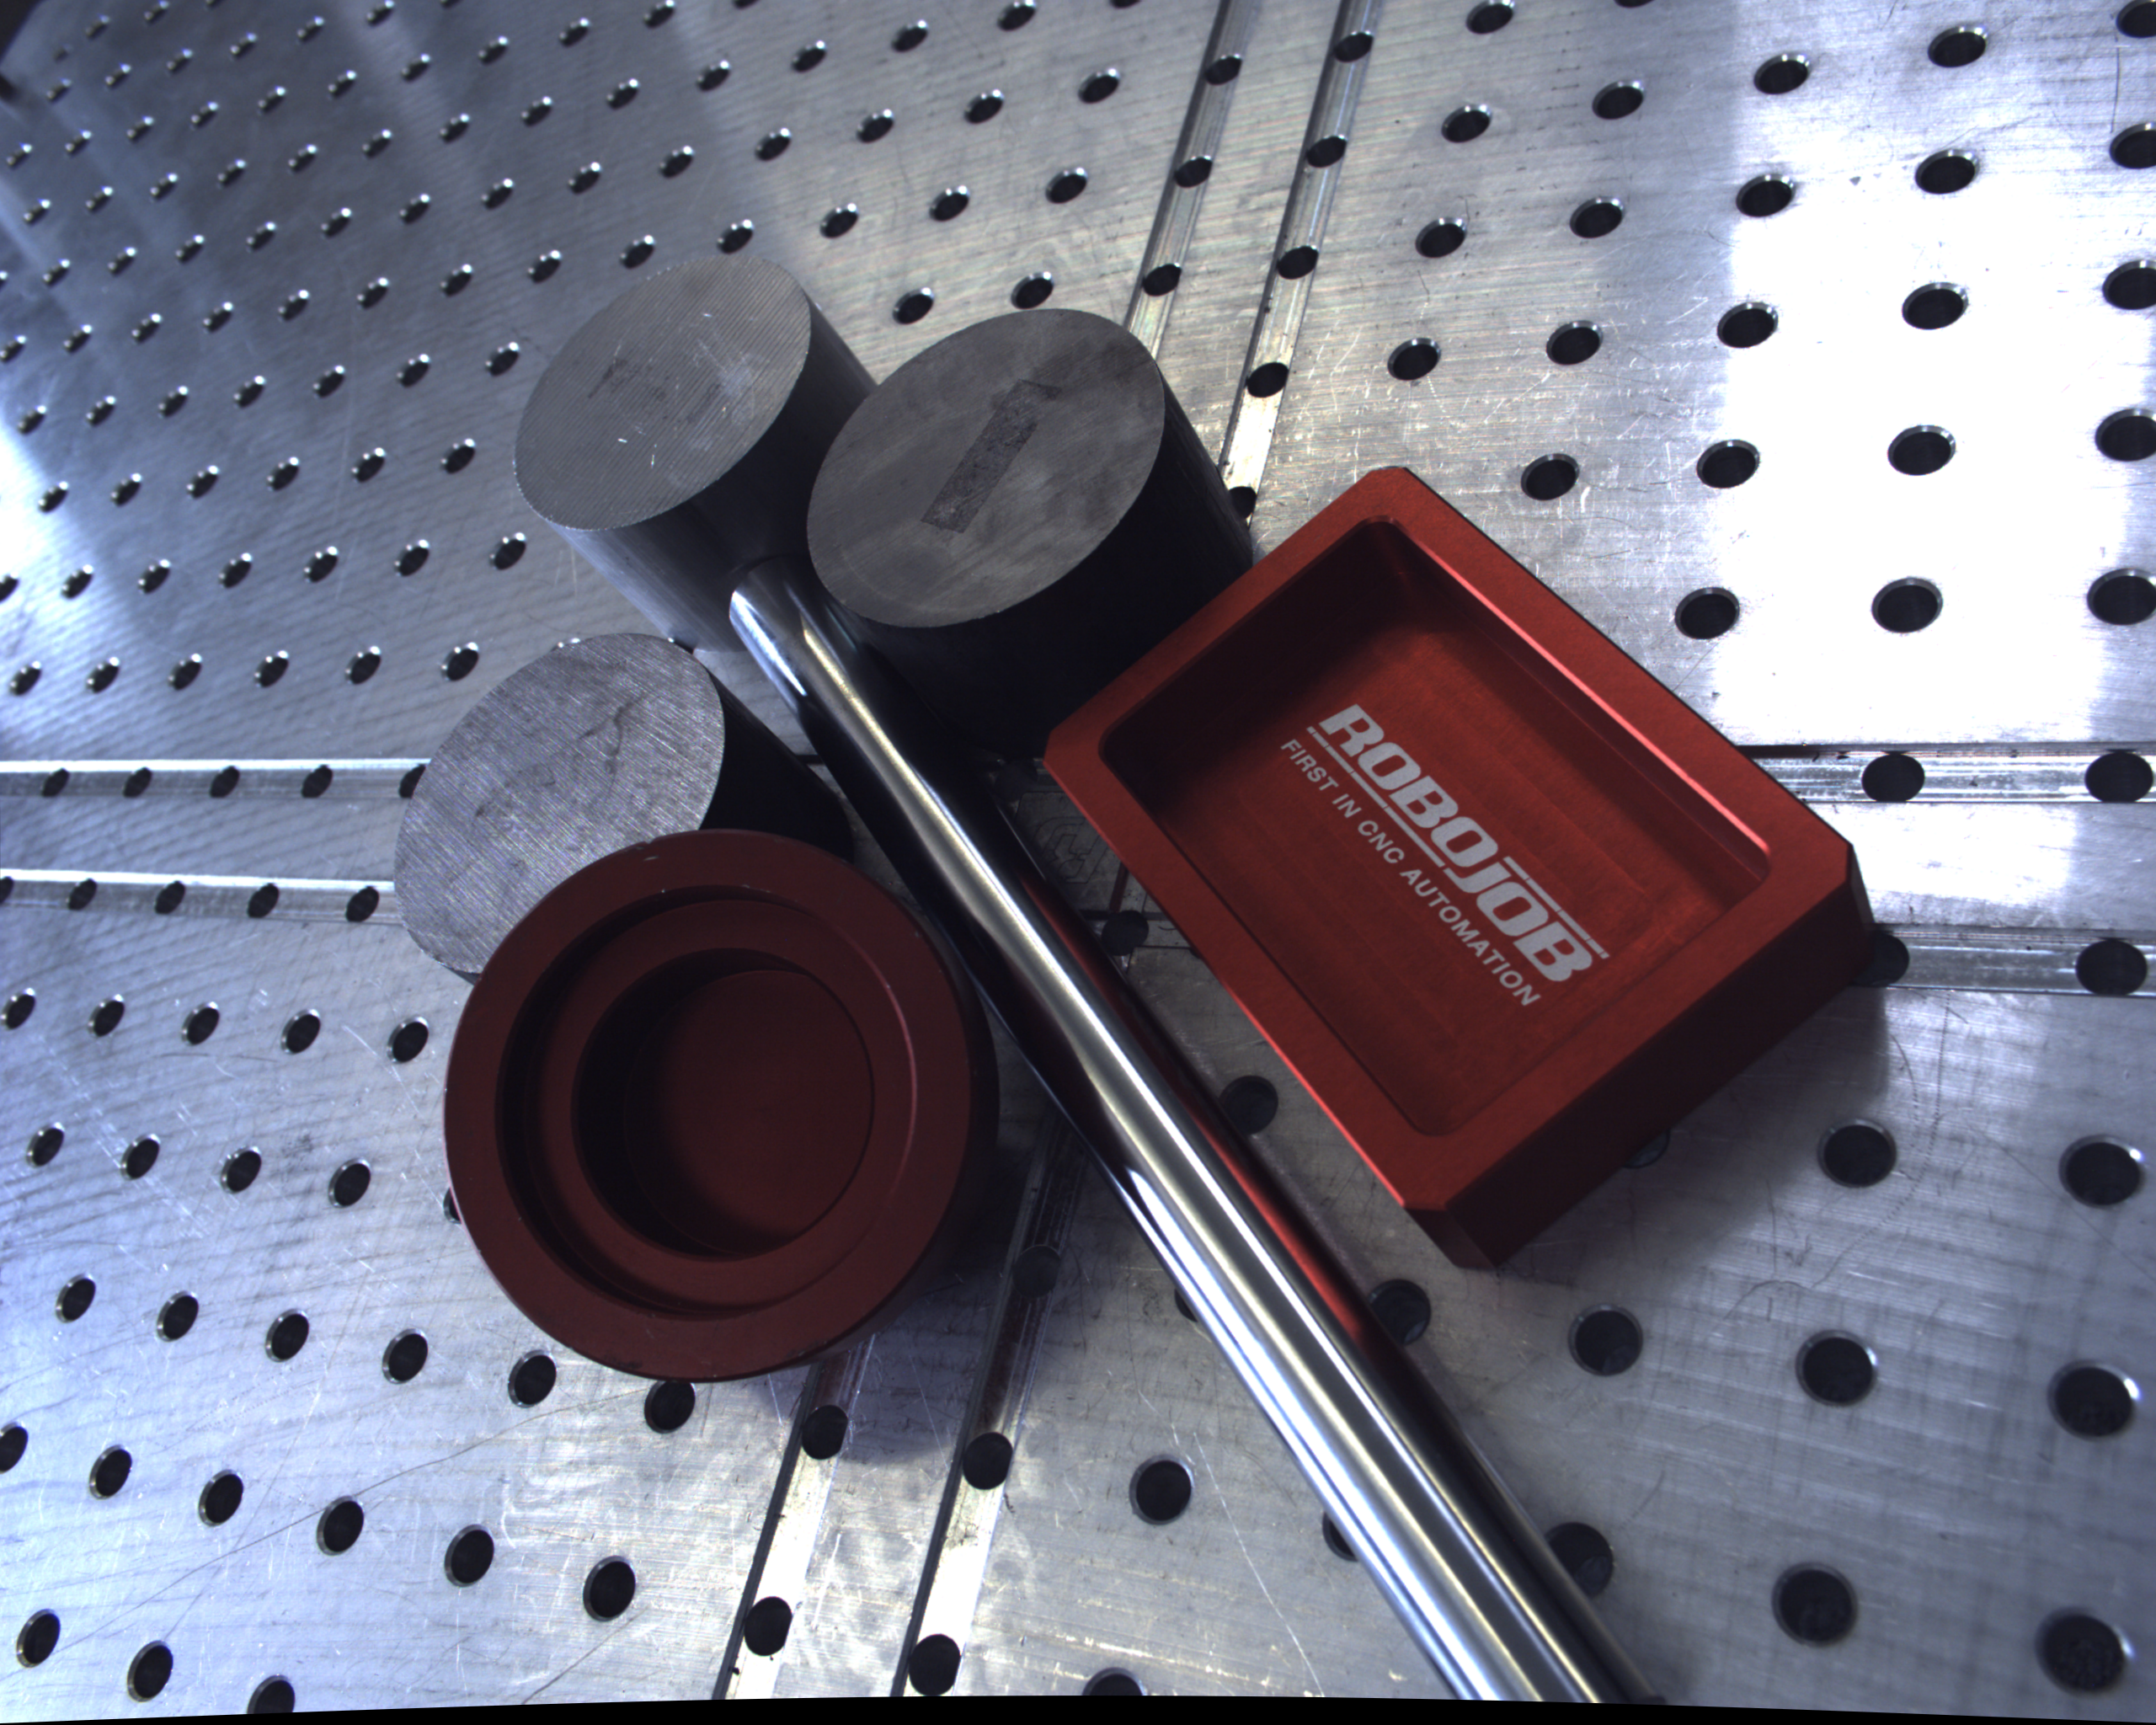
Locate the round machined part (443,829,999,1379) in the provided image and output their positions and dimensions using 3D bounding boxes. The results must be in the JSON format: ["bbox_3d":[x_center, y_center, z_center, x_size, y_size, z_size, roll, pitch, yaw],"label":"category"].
[{"bbox_3d":[-0.063,0.046,0.389,0.098,0.042,0.098,-2,78,9],"label":"round machined part"}]

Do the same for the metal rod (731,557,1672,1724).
[{"bbox_3d":[0.003,0.033,0.387,0.025,0.025,0.300,-39,51,2],"label":"metal rod"}]

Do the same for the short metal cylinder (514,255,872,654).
[{"bbox_3d":[-0.085,-0.097,0.497,0.080,0.050,0.080,-13,56,21],"label":"short metal cylinder"}]

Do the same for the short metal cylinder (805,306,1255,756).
[{"bbox_3d":[-0.009,-0.069,0.439,0.080,0.050,0.080,-13,56,21],"label":"short metal cylinder"}]

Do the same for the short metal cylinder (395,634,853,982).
[{"bbox_3d":[-0.096,-0.001,0.443,0.080,0.050,0.080,-13,56,21],"label":"short metal cylinder"}]

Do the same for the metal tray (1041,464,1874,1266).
[{"bbox_3d":[0.063,-0.005,0.374,0.090,0.030,0.130,-40,51,2],"label":"metal tray"}]
